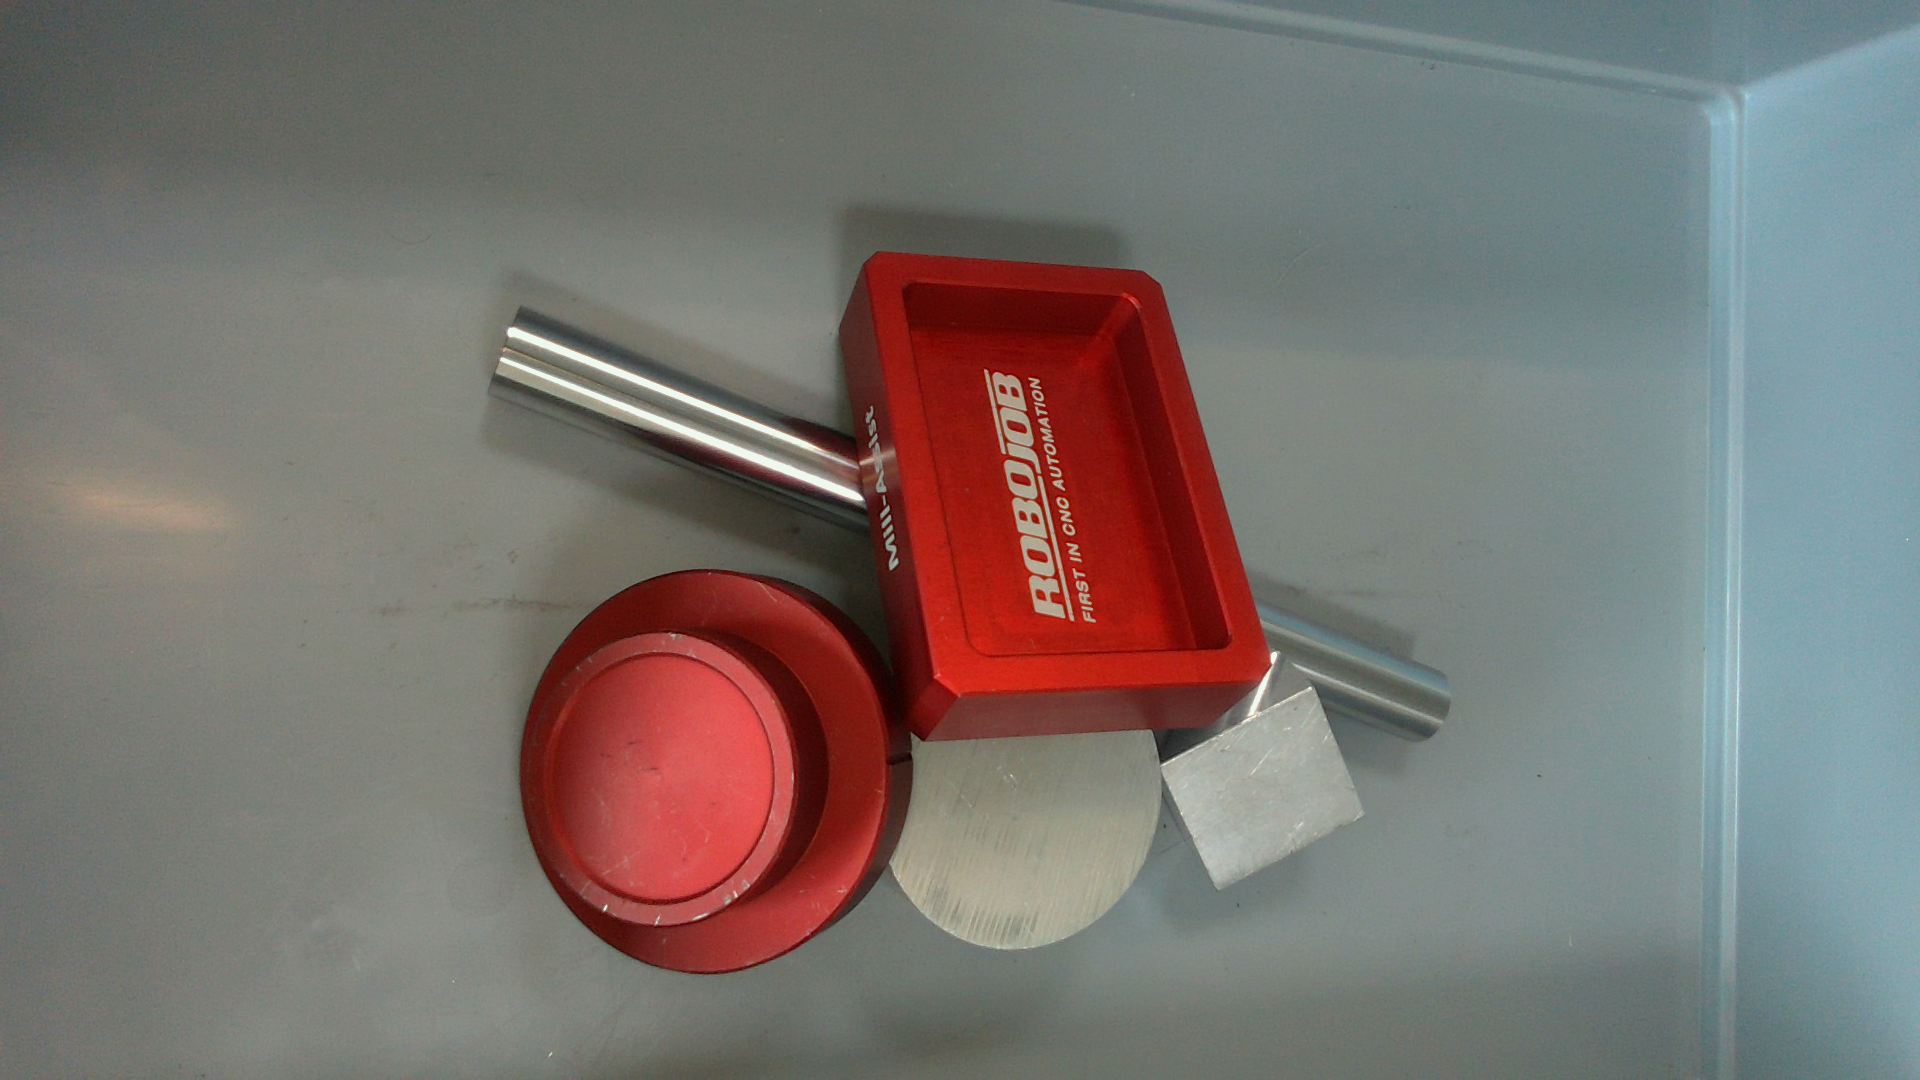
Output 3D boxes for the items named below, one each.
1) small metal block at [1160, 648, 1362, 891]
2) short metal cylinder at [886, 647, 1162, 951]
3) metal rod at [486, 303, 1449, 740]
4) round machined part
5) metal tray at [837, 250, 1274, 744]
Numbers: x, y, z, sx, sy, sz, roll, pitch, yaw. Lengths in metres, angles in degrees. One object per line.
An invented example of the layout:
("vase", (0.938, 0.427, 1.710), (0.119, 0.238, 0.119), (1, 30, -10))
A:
("small metal block", (0.086, 0.069, 0.412), (0.050, 0.025, 0.050), (-27, 115, -2))
("short metal cylinder", (0.009, 0.067, 0.382), (0.080, 0.050, 0.080), (0, 90, -20))
("metal rod", (0.017, 0.002, 0.398), (0.301, 0.025, 0.025), (21, 83, -19))
("round machined part", (-0.064, 0.056, 0.335), (0.098, 0.042, 0.098), (-1, 85, 13))
("metal tray", (0.022, -0.014, 0.366), (0.090, 0.030, 0.130), (0, 61, -21))
